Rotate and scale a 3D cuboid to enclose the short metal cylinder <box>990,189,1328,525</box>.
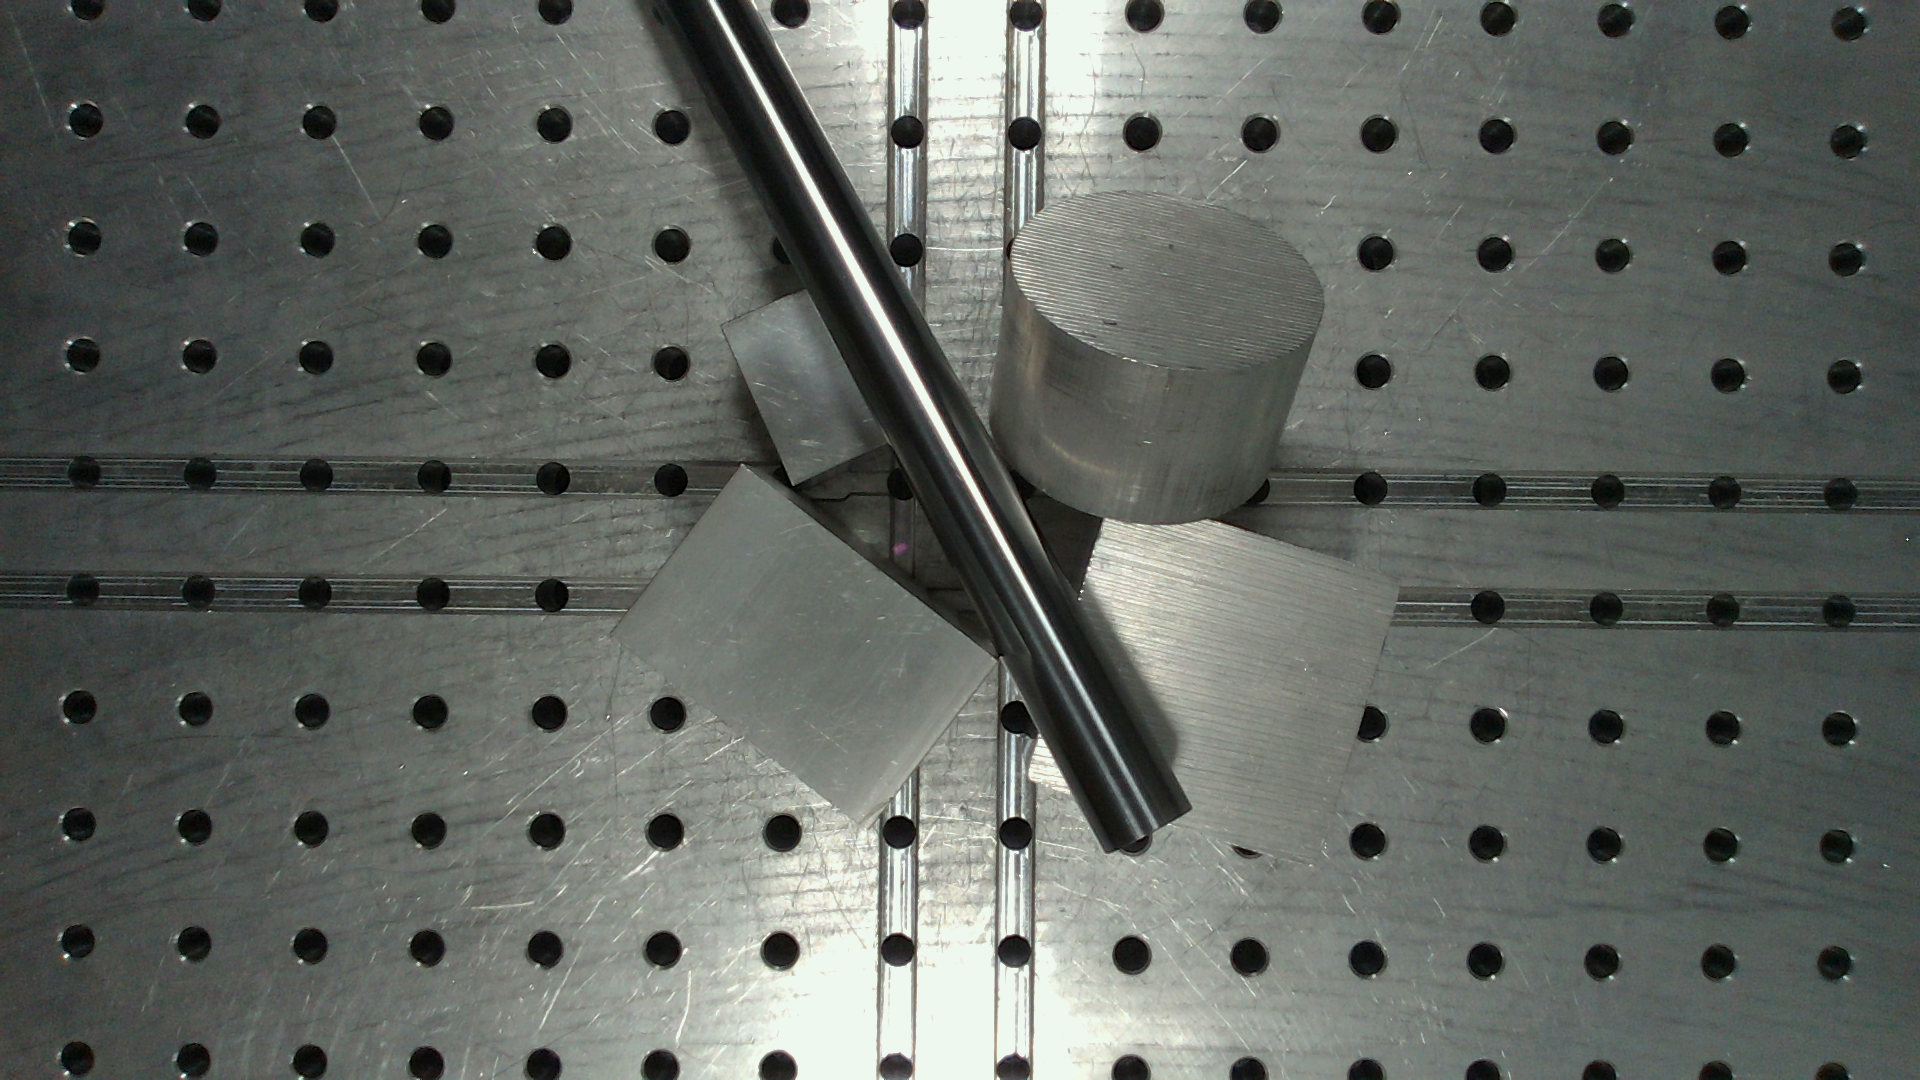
[{"bbox_3d":[0.050,-0.050,0.363,0.080,0.080,0.050,9,134,0],"label":"short metal cylinder"}]

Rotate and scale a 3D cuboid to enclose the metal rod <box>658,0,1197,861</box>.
[{"bbox_3d":[-0.021,-0.057,0.367,0.025,0.025,0.300,-28,79,0],"label":"metal rod"}]

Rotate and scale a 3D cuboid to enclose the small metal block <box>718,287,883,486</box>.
[{"bbox_3d":[-0.034,-0.048,0.398,0.050,0.025,0.050,-24,90,0],"label":"small metal block"}]

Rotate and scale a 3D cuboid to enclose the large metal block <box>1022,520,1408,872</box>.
[{"bbox_3d":[0.067,0.037,0.385,0.080,0.050,0.080,17,90,0],"label":"large metal block"}]

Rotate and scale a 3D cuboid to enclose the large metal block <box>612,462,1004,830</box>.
[{"bbox_3d":[-0.036,0.025,0.370,0.080,0.080,0.050,37,90,0],"label":"large metal block"}]
